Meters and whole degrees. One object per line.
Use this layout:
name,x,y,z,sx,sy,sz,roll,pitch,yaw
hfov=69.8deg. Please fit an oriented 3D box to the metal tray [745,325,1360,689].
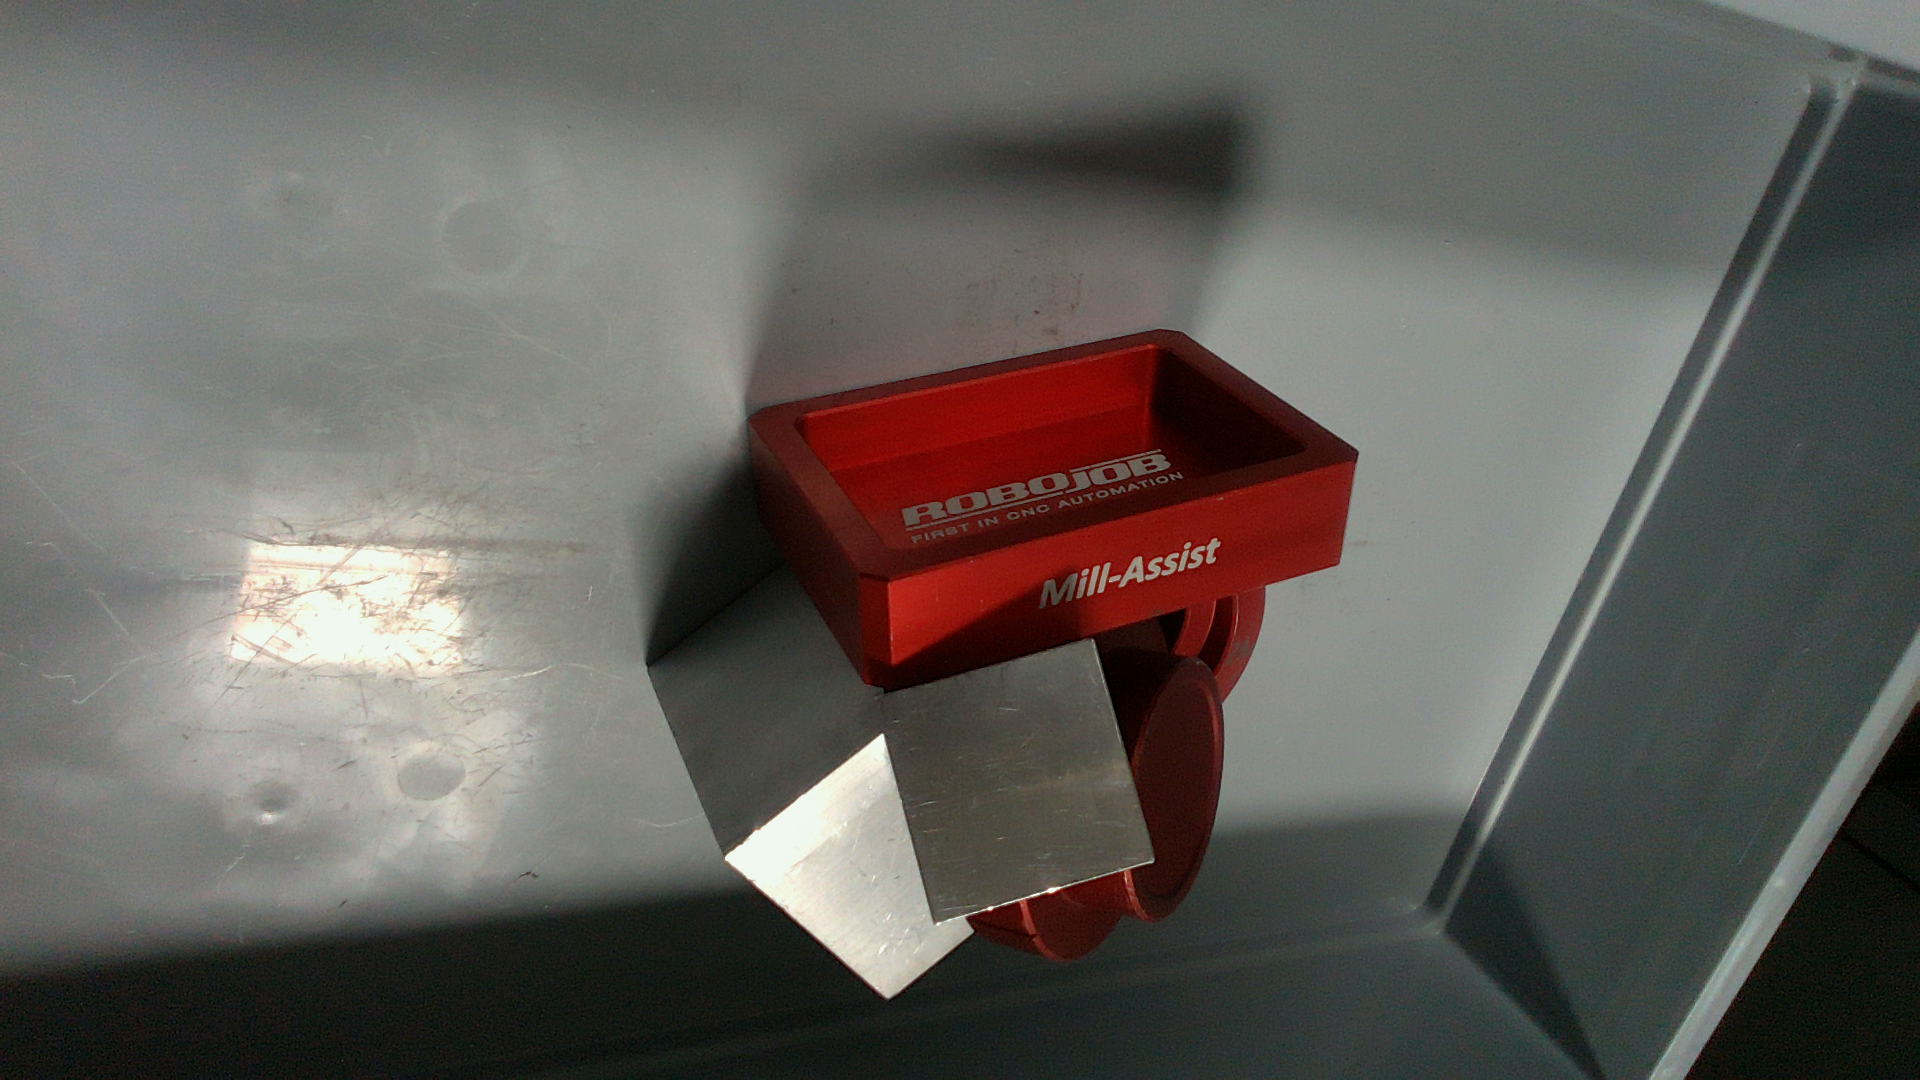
metal tray,0.021,-0.014,0.348,0.130,0.090,0.030,-14,125,-20

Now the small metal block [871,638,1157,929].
small metal block,0.011,0.053,0.307,0.050,0.025,0.050,-15,87,-5

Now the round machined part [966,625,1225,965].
round machined part,0.039,0.062,0.361,0.098,0.042,0.098,-20,113,-59

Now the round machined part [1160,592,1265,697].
round machined part,0.039,0.021,0.413,0.098,0.042,0.098,-14,124,-21

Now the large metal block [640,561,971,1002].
large metal block,-0.033,0.064,0.374,0.050,0.080,0.080,-38,129,-3
